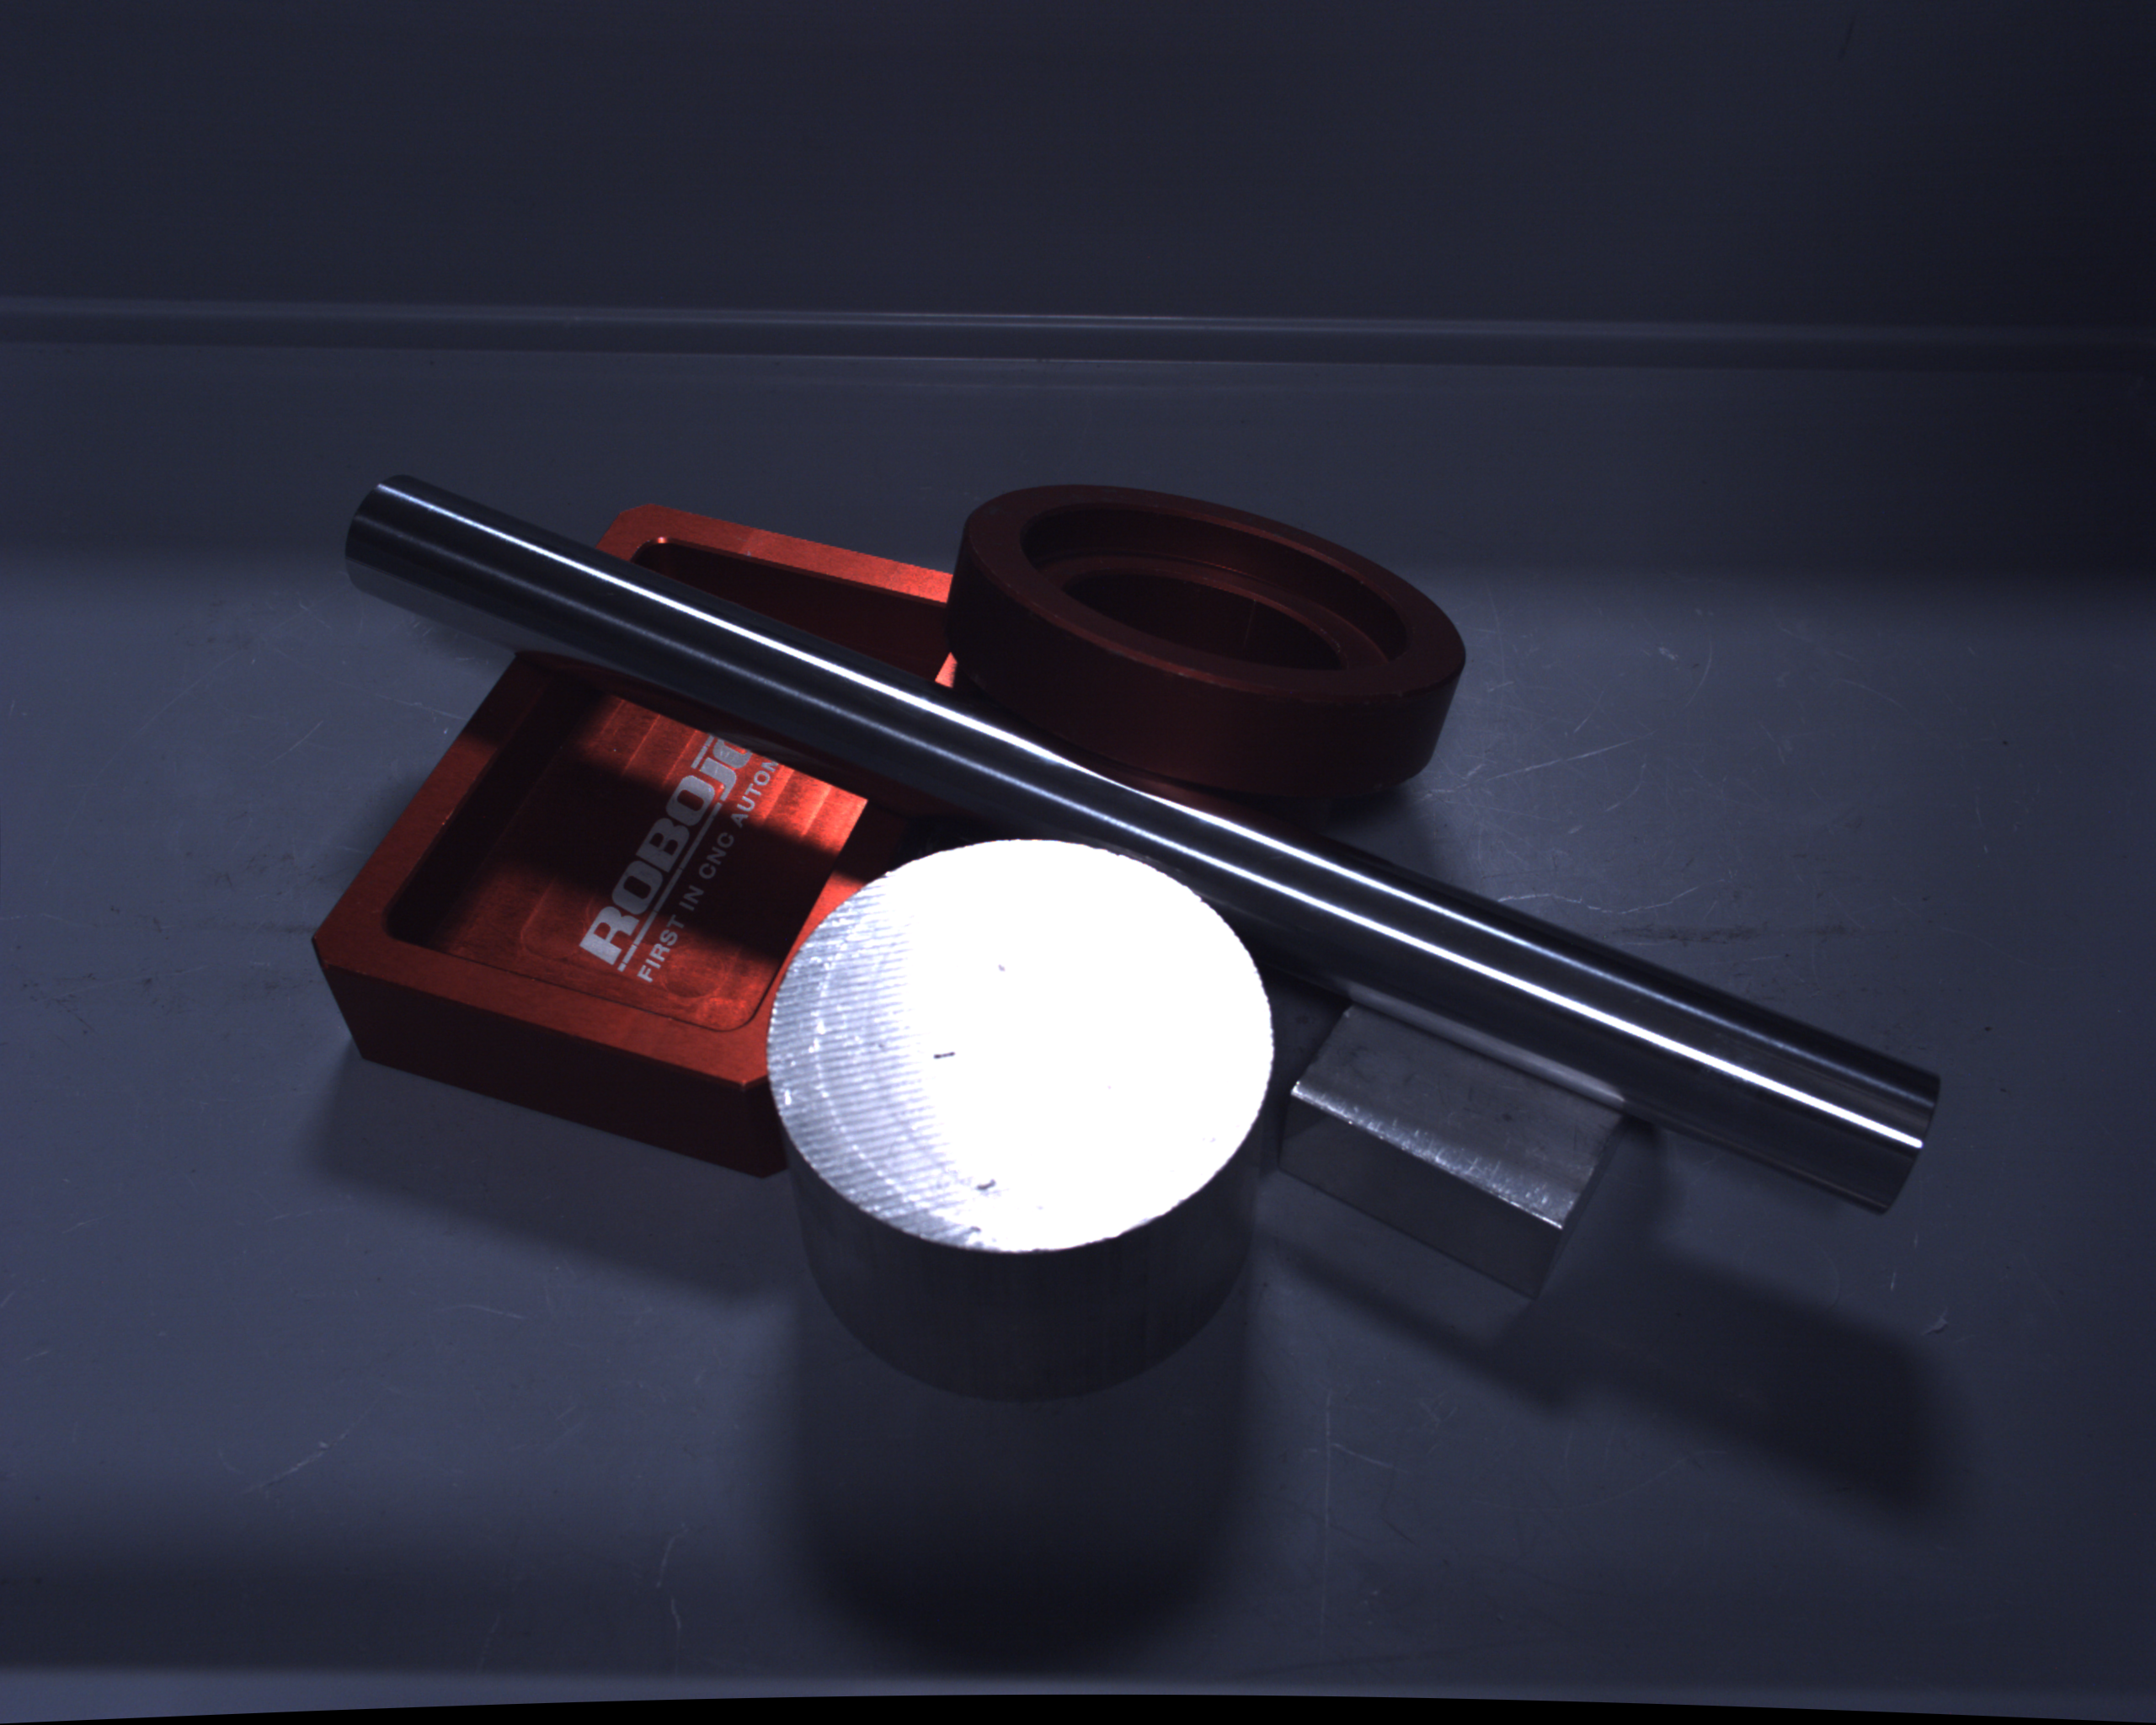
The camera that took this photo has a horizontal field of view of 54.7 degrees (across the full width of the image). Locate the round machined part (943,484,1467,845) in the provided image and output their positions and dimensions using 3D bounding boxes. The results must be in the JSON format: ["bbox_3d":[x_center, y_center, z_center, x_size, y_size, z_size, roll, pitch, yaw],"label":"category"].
[{"bbox_3d":[0.022,-0.036,0.406,0.099,0.042,0.098,12,27,-6],"label":"round machined part"}]

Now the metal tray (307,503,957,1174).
[{"bbox_3d":[-0.074,-0.011,0.406,0.090,0.030,0.130,14,51,11],"label":"metal tray"}]

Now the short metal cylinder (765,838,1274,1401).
[{"bbox_3d":[-0.009,0.042,0.350,0.081,0.050,0.080,0,50,0],"label":"short metal cylinder"}]

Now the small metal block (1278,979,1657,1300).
[{"bbox_3d":[0.070,0.041,0.369,0.050,0.025,0.050,25,54,19],"label":"small metal block"}]

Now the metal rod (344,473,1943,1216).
[{"bbox_3d":[-0.001,-0.010,0.373,0.301,0.025,0.025,22,53,14],"label":"metal rod"}]
